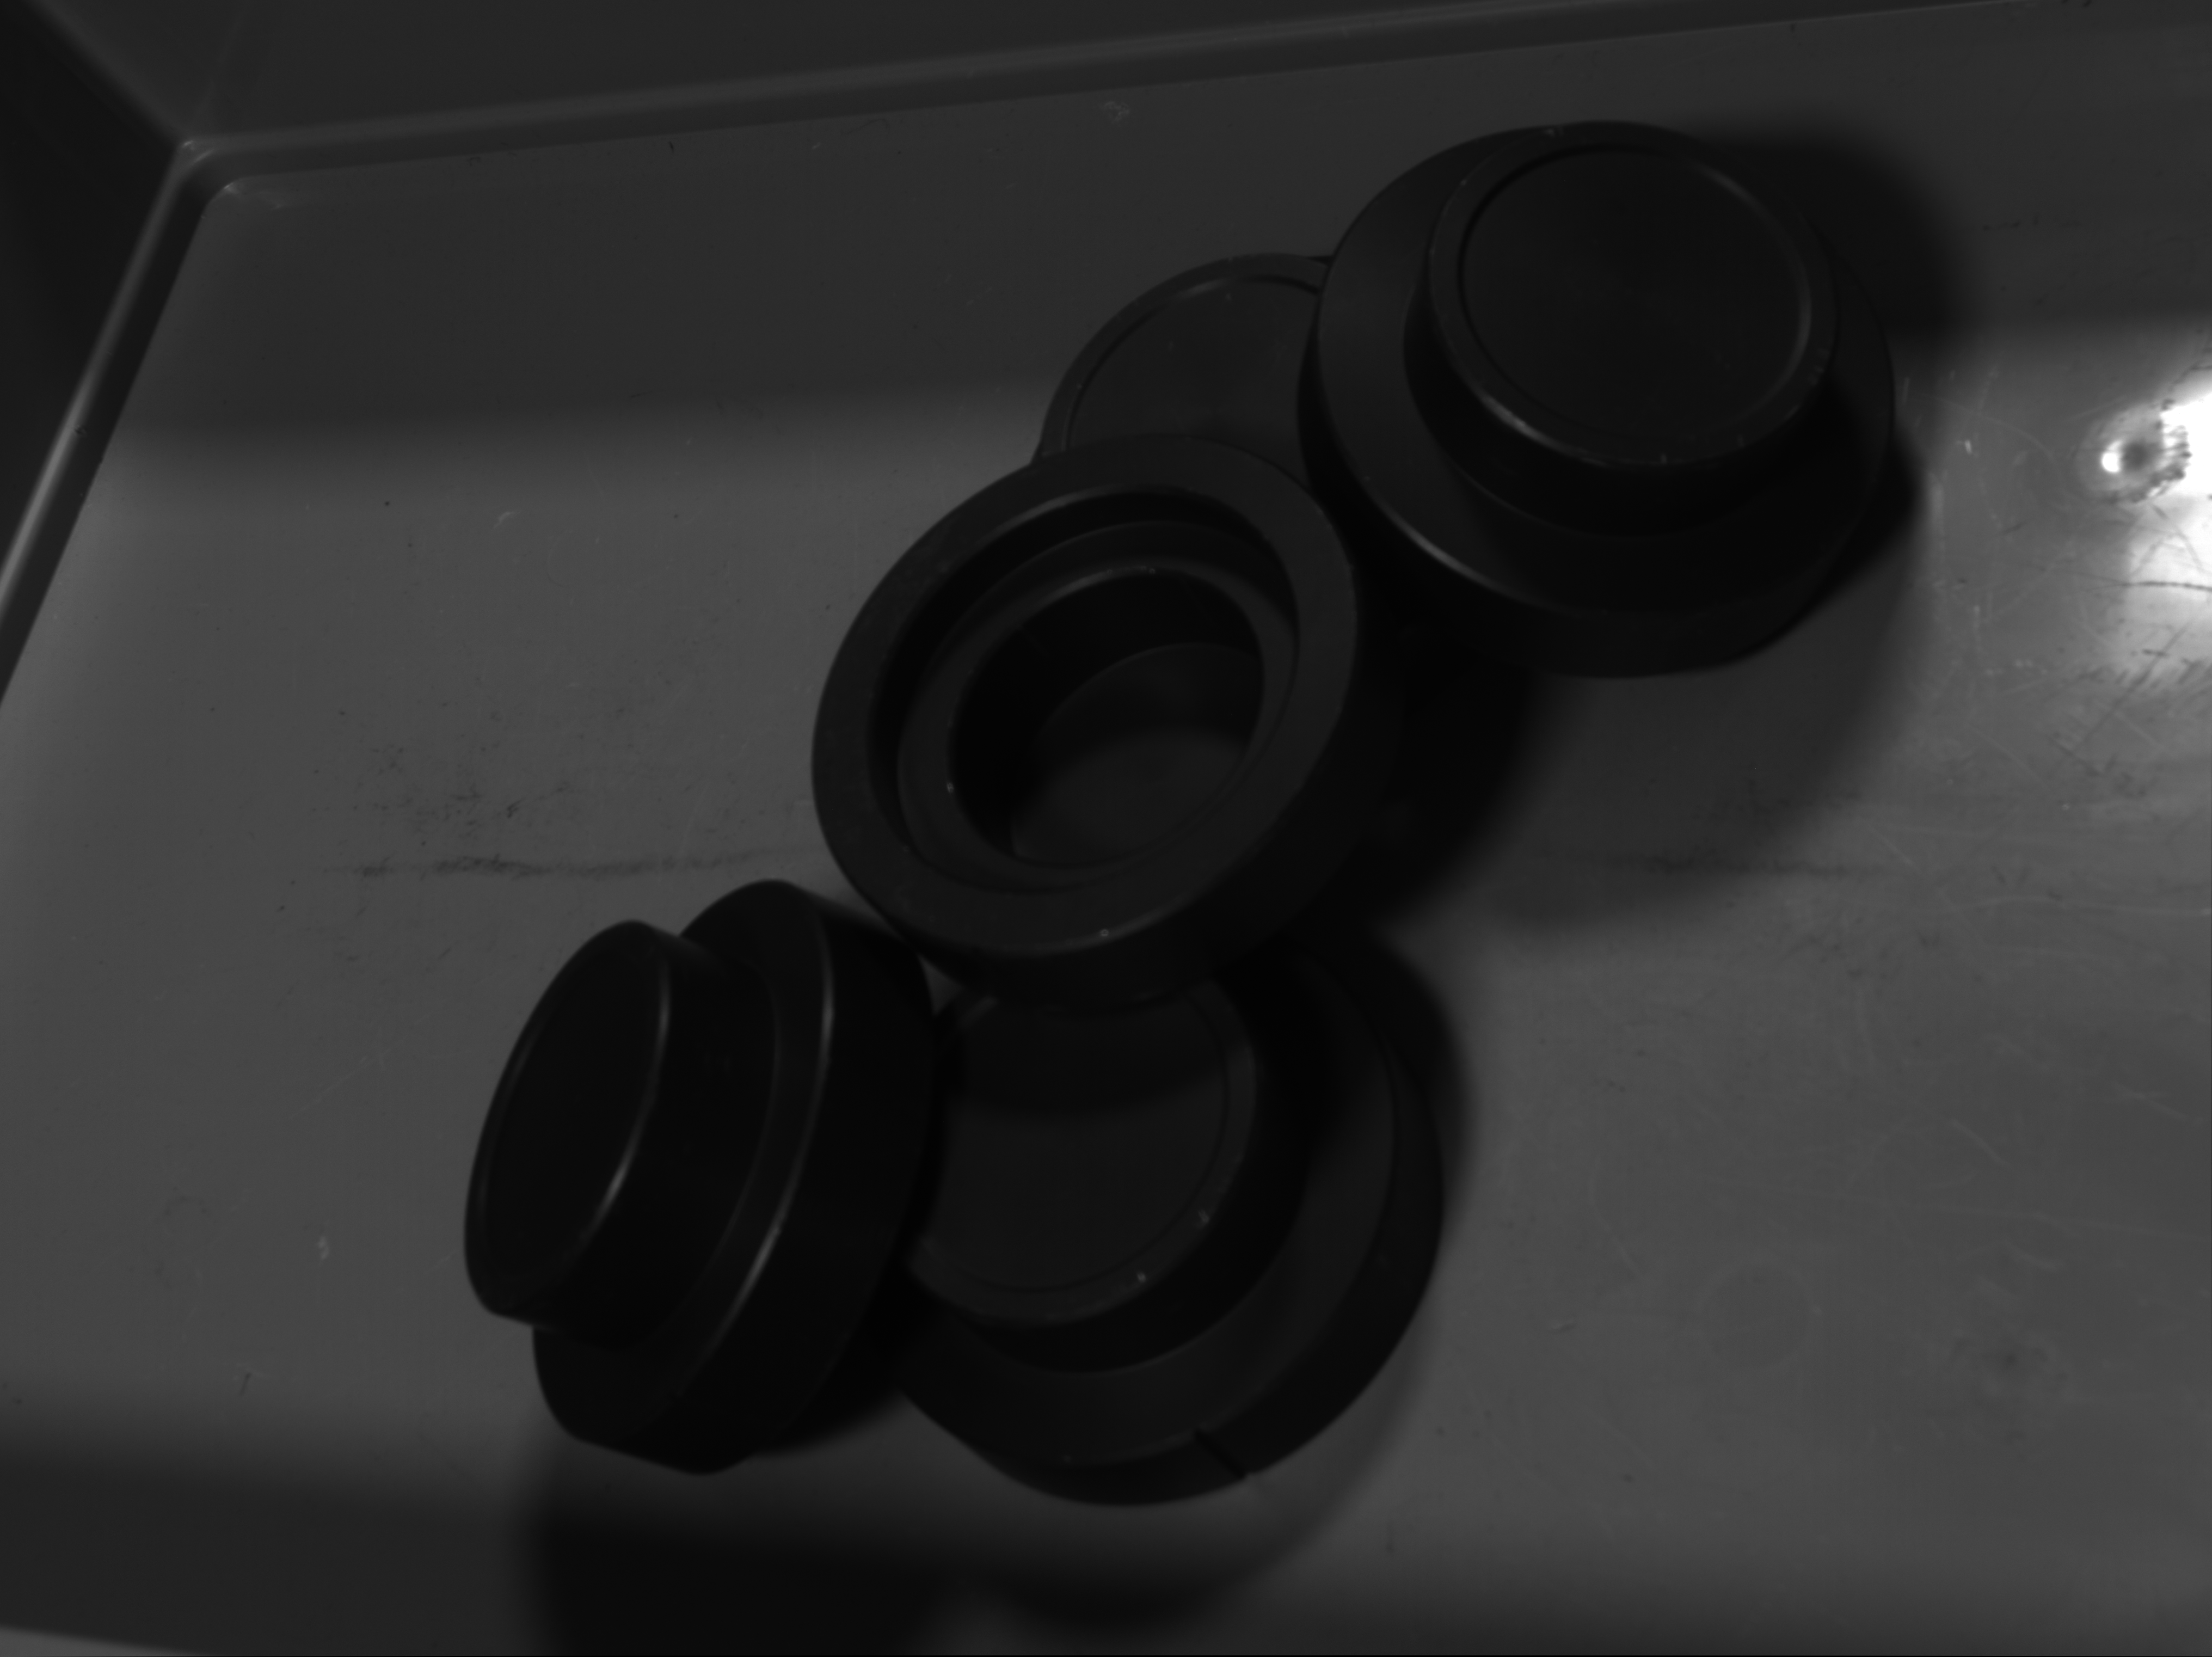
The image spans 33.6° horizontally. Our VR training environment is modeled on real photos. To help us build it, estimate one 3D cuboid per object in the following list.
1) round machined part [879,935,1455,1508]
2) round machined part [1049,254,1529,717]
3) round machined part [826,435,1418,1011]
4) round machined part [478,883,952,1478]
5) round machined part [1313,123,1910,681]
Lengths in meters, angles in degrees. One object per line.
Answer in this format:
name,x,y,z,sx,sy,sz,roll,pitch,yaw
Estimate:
round machined part,0.004,0.057,0.595,0.098,0.042,0.098,-13,56,21
round machined part,0.030,-0.063,0.654,0.098,0.042,0.098,-13,56,21
round machined part,0.006,-0.013,0.608,0.098,0.042,0.098,-13,56,21
round machined part,-0.070,0.055,0.609,0.098,0.042,0.098,-41,37,40
round machined part,0.085,-0.077,0.606,0.098,0.042,0.098,3,63,-5
